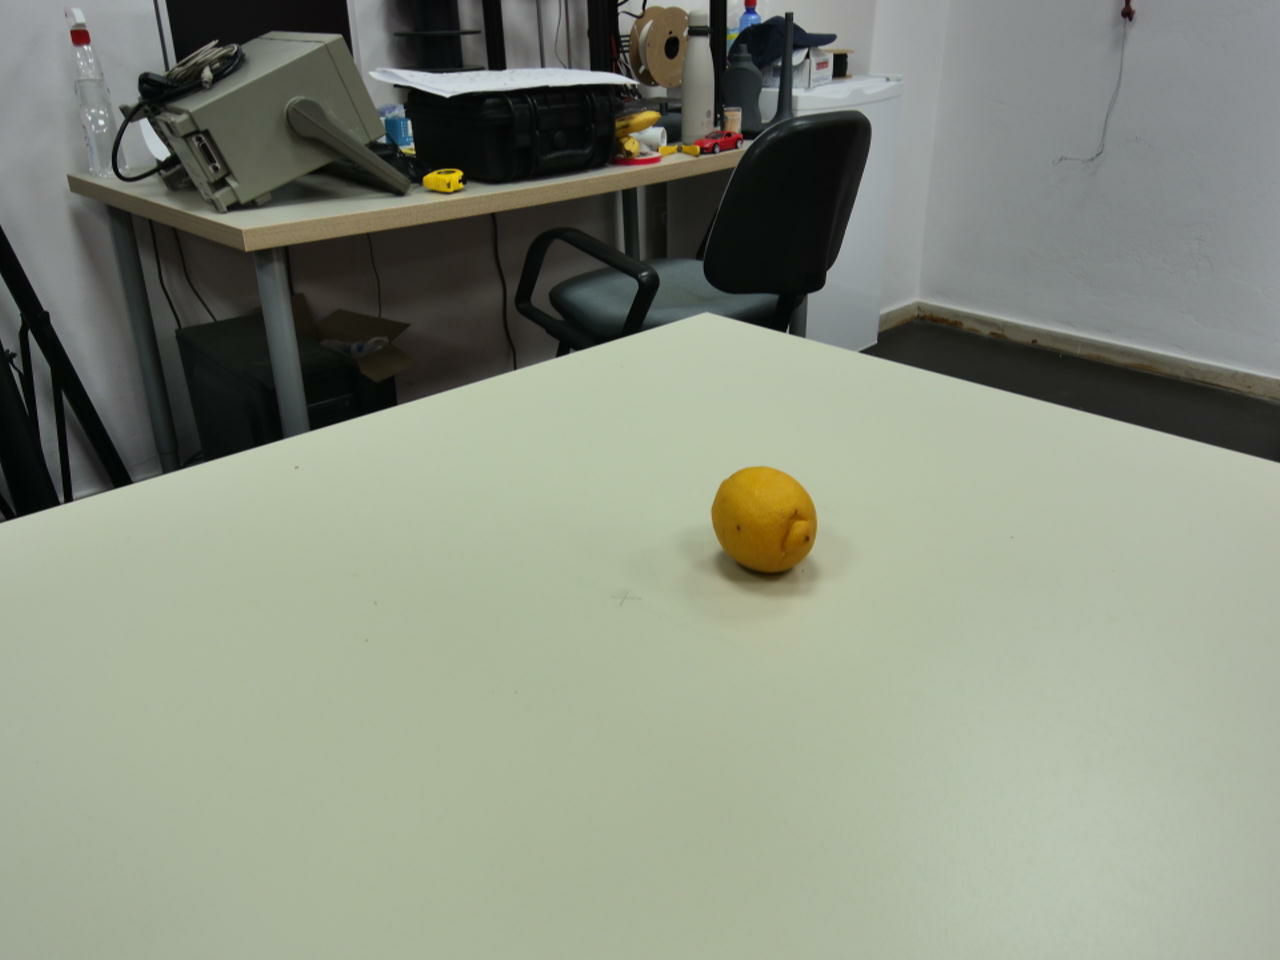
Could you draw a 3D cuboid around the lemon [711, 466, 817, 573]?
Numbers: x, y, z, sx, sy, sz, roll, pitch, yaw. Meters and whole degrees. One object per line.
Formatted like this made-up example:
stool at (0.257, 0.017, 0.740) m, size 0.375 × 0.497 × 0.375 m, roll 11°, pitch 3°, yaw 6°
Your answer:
lemon at (0.073, 0.024, 0.592) m, size 0.061 × 0.059 × 0.067 m, roll 0°, pitch 24°, yaw 0°
